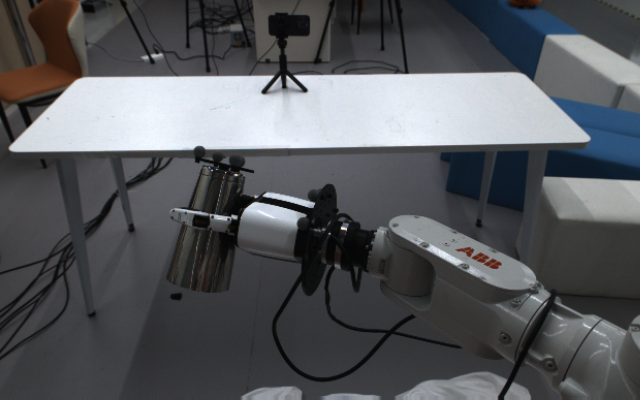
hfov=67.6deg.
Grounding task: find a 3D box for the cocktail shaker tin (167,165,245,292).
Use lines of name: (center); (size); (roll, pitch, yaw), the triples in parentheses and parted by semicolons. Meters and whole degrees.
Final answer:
cocktail shaker tin: (-0.161, 0.039, 0.709); (0.093, 0.170, 0.093); (13, 2, -1)
